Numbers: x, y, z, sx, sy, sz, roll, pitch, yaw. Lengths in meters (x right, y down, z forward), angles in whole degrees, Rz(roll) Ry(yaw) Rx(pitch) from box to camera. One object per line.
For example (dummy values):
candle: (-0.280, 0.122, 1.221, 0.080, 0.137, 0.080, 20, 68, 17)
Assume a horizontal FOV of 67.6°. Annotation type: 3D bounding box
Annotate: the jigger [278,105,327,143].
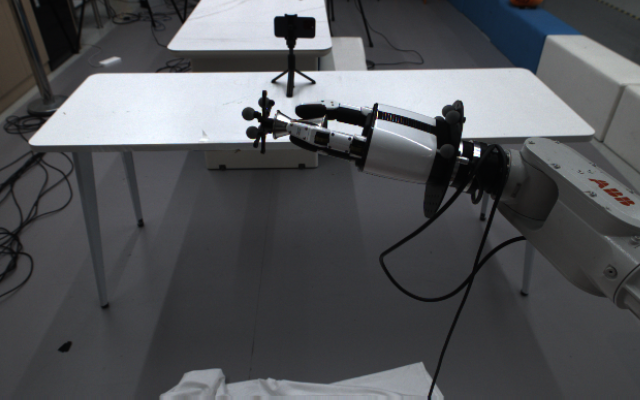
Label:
jigger: (-0.020, -0.103, 0.660, 0.071, 0.043, 0.043, 7, 35, 7)
